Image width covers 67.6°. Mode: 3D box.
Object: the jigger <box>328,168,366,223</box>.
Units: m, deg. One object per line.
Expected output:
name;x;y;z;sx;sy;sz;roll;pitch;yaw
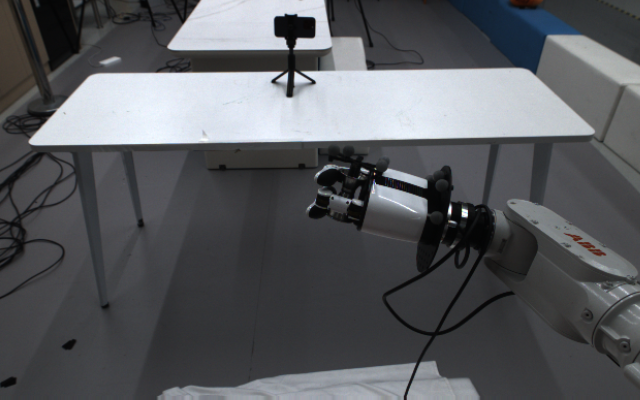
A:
jigger;0.041;-0.007;0.704;0.043;0.071;0.043;15;17;-5
